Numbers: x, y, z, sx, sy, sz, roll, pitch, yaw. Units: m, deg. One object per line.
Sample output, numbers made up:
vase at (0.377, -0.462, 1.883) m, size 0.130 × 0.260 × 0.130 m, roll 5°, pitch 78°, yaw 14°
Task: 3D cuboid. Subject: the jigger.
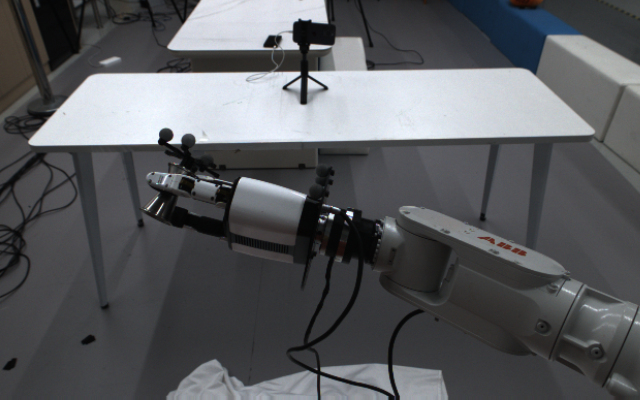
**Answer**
jigger at (-0.187, -0.010, 0.597) m, size 0.043 × 0.043 × 0.071 m, roll 20°, pitch 73°, yaw 24°
